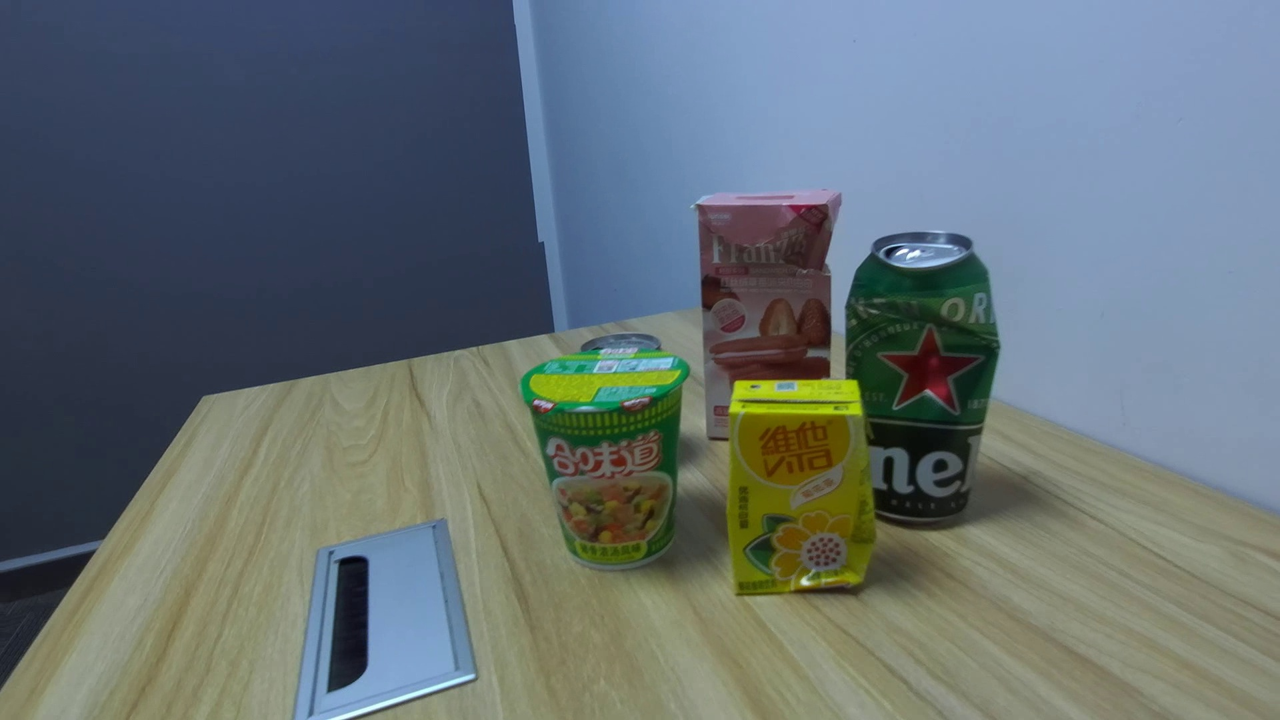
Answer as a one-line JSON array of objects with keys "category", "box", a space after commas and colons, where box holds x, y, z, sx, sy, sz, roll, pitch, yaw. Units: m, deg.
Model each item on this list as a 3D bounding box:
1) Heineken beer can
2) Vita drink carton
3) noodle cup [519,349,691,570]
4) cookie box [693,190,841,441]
[{"category": "Heineken beer can", "box": [0.162, 0.014, 0.417, 0.069, 0.168, 0.068, -15, 23, -21]}, {"category": "Vita drink carton", "box": [0.085, 0.068, 0.368, 0.076, 0.109, 0.043, 0, 20, 12]}, {"category": "noodle cup", "box": [-0.018, 0.059, 0.419, 0.097, 0.110, 0.097, -3, 20, 1]}, {"category": "cookie box", "box": [0.095, -0.029, 0.531, 0.105, 0.186, 0.059, 3, 22, 19]}]
